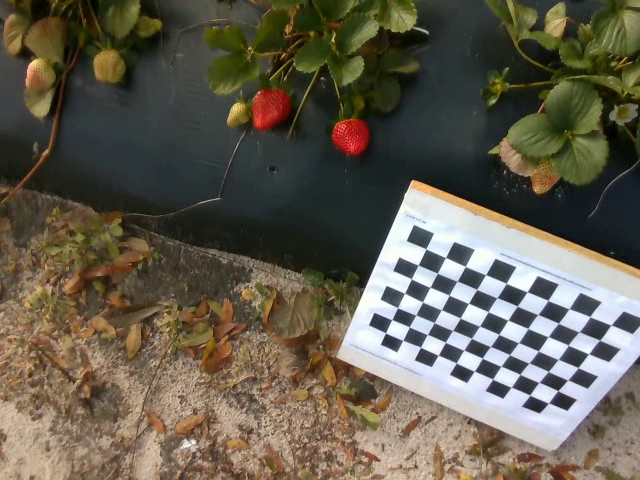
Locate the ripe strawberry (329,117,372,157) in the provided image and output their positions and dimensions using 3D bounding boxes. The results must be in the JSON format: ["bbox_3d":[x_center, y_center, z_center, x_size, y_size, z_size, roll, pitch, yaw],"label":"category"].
[{"bbox_3d":[0.025,-0.077,0.520,0.033,0.039,0.038,18,-39,-13],"label":"ripe strawberry"}]

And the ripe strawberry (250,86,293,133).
[{"bbox_3d":[-0.041,-0.100,0.528,0.035,0.036,0.041,14,-29,19],"label":"ripe strawberry"}]
